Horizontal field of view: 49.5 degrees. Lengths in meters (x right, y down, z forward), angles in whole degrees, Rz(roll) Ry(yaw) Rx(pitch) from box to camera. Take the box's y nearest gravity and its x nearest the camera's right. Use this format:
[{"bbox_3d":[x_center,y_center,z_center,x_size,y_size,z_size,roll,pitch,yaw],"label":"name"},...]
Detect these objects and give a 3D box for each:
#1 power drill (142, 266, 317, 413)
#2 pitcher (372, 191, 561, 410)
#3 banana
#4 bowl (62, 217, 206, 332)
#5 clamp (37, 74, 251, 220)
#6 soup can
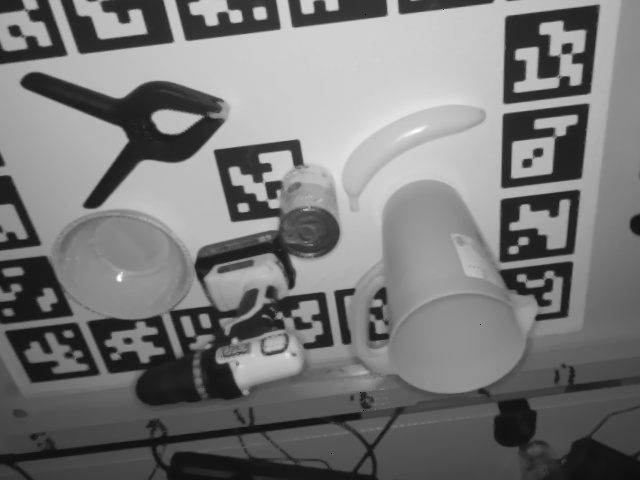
[{"bbox_3d":[-0.095,0.111,0.777,0.184,0.188,0.057,-11,122,4],"label":"power drill"},{"bbox_3d":[0.138,0.057,0.750,0.187,0.244,0.133,-28,123,14],"label":"pitcher"},{"bbox_3d":[0.124,-0.093,0.779,0.196,0.039,0.074,-28,128,15],"label":"banana"},{"bbox_3d":[-0.214,0.031,0.818,0.162,0.055,0.160,-2,121,-3],"label":"bowl"},{"bbox_3d":[-0.174,-0.110,0.737,0.203,0.037,0.164,-9,118,2],"label":"clamp"},{"bbox_3d":[0.008,-0.018,0.778,0.068,0.103,0.067,-3,130,-3],"label":"soup can"}]
